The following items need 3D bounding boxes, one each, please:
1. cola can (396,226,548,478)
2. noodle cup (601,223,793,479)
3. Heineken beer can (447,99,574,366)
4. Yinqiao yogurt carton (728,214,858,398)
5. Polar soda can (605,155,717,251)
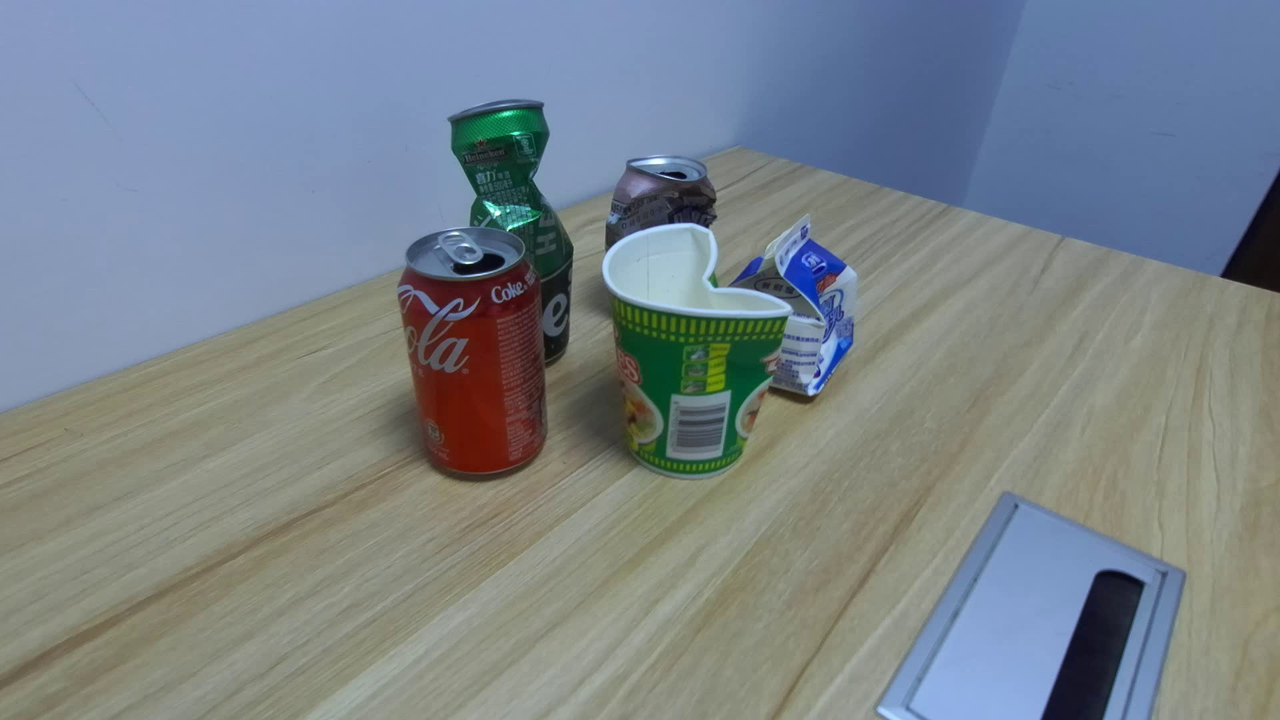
[{"bbox_3d":[-0.082,-0.003,0.359,0.068,0.120,0.067,1,34,0],"label":"cola can"},{"bbox_3d":[0.024,-0.002,0.367,0.087,0.109,0.093,2,34,0],"label":"noodle cup"},{"bbox_3d":[-0.076,-0.074,0.433,0.078,0.159,0.067,18,31,36],"label":"Heineken beer can"},{"bbox_3d":[0.090,-0.037,0.439,0.071,0.094,0.077,13,34,29],"label":"Yinqiao yogurt carton"},{"bbox_3d":[0.015,-0.084,0.489,0.070,0.114,0.074,13,36,5],"label":"Polar soda can"}]
